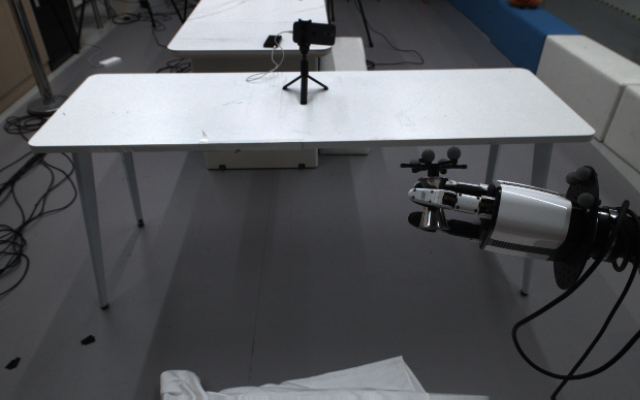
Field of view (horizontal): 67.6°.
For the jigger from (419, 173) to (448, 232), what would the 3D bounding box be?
[{"bbox_3d":[0.151,0.004,0.655,0.043,0.071,0.043,3,-6,0],"label":"jigger"}]
